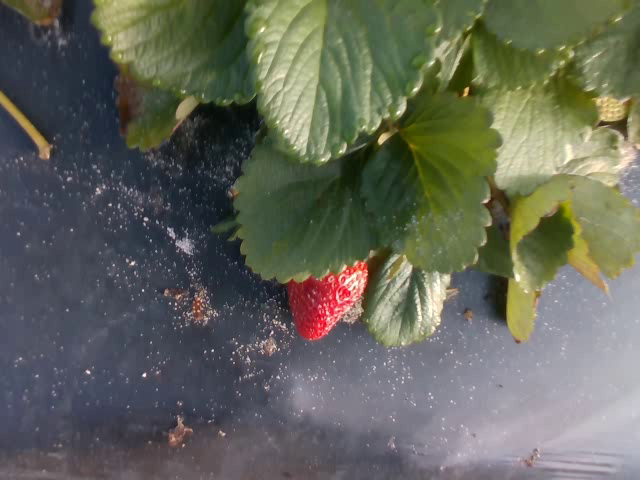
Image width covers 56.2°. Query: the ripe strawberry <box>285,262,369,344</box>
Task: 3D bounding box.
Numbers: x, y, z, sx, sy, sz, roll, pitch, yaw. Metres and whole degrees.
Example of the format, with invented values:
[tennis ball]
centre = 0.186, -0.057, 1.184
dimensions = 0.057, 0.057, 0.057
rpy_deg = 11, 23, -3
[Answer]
[ripe strawberry]
centre = 0.000, 0.017, 0.170
dimensions = 0.029, 0.036, 0.021
rpy_deg = 14, 9, -4
